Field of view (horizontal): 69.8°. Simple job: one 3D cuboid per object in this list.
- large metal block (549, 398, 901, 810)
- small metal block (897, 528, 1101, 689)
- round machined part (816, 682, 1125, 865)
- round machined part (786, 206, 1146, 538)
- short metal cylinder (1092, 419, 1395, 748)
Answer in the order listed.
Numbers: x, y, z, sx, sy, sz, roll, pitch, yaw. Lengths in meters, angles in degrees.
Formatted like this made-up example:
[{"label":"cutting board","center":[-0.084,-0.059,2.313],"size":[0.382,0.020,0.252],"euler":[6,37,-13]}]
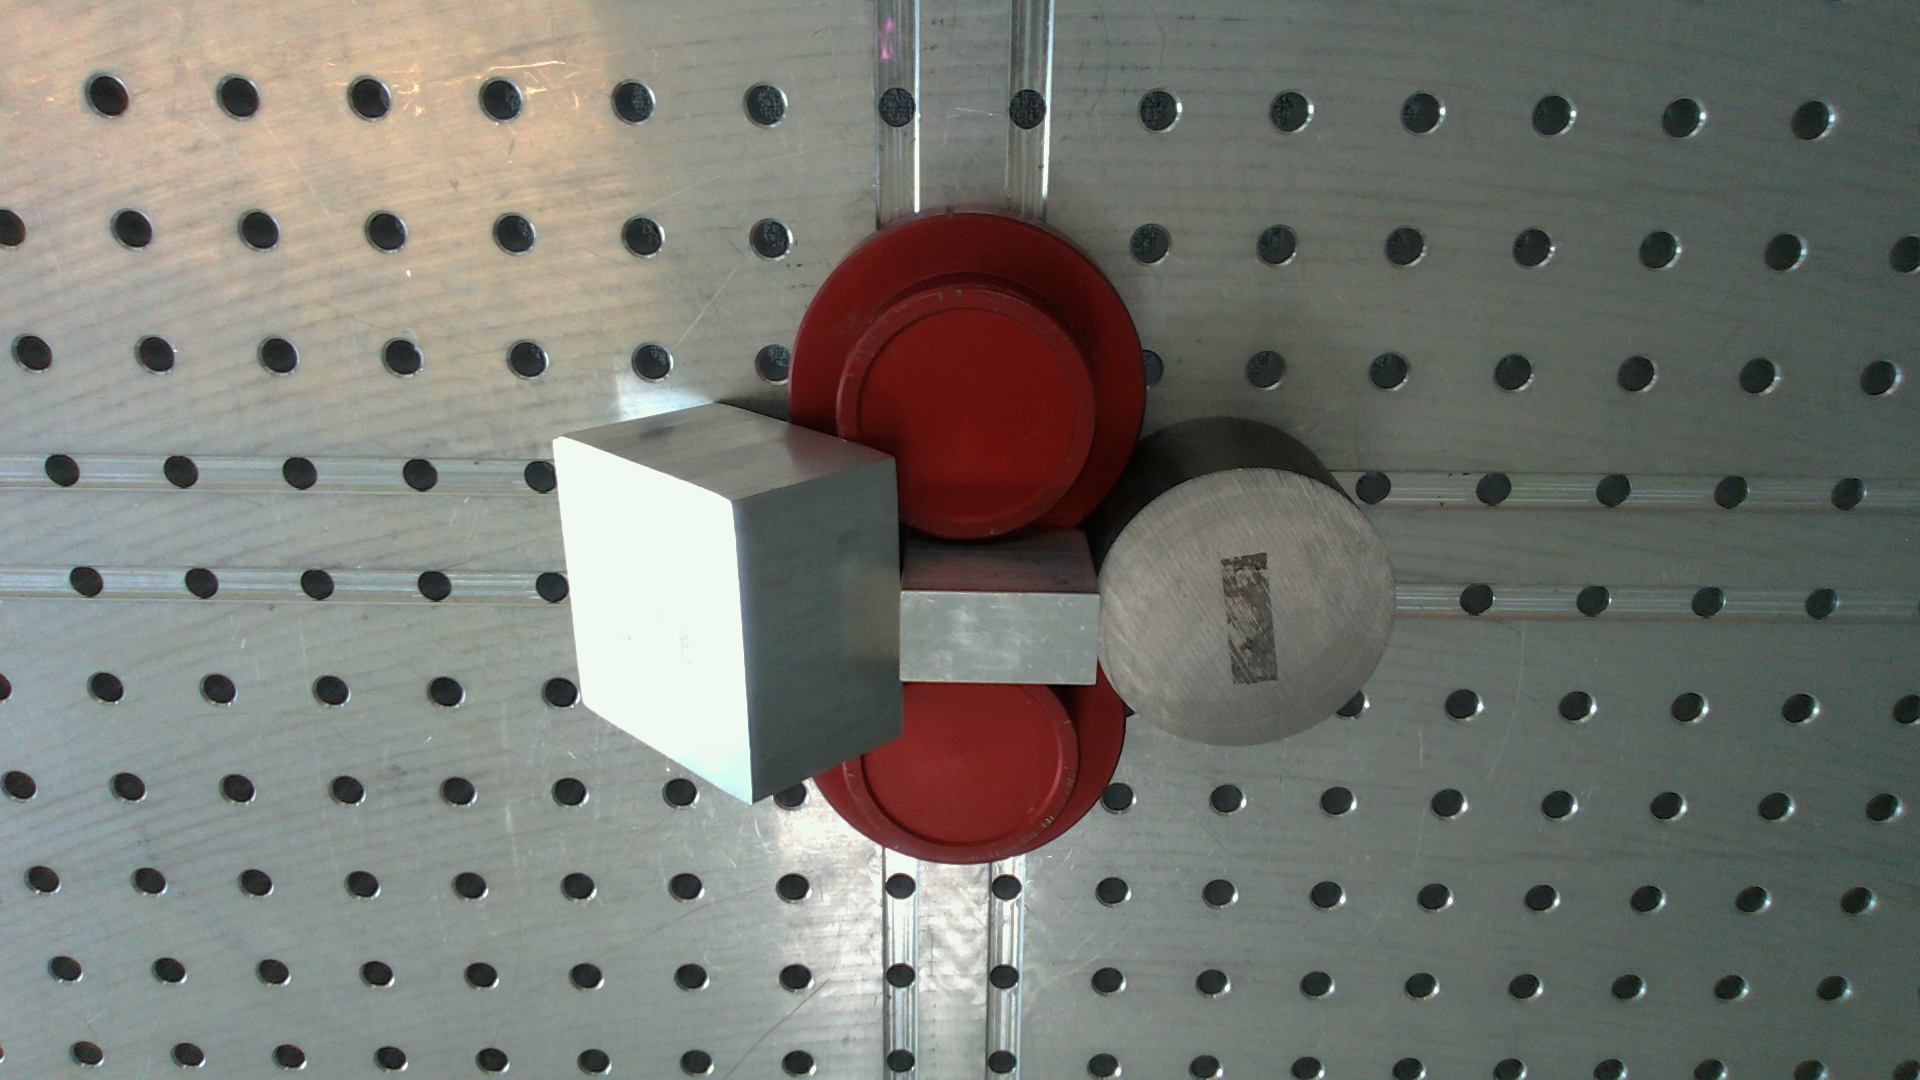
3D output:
[{"label":"large metal block","center":[-0.062,0.013,0.365],"size":[0.050,0.080,0.080],"euler":[-19,117,-41]},{"label":"small metal block","center":[0.010,0.017,0.366],"size":[0.050,0.050,0.025],"euler":[1,110,-1]},{"label":"round machined part","center":[0.000,0.055,0.408],"size":[0.098,0.042,0.098],"euler":[0,110,0]},{"label":"round machined part","center":[0.002,-0.039,0.373],"size":[0.098,0.042,0.098],"euler":[0,110,0]},{"label":"short metal cylinder","center":[0.075,0.011,0.386],"size":[0.080,0.050,0.080],"euler":[0,110,0]}]
